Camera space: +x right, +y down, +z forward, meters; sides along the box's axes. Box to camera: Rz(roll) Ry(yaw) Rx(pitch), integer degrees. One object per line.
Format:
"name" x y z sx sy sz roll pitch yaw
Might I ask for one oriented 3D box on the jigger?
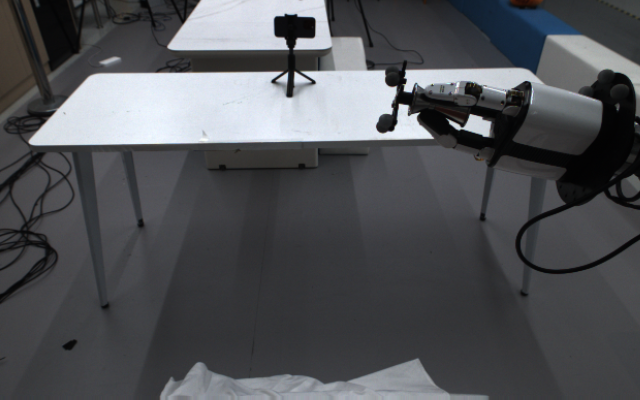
"jigger" 0.151 -0.119 0.587 0.071 0.043 0.043 11 35 2
